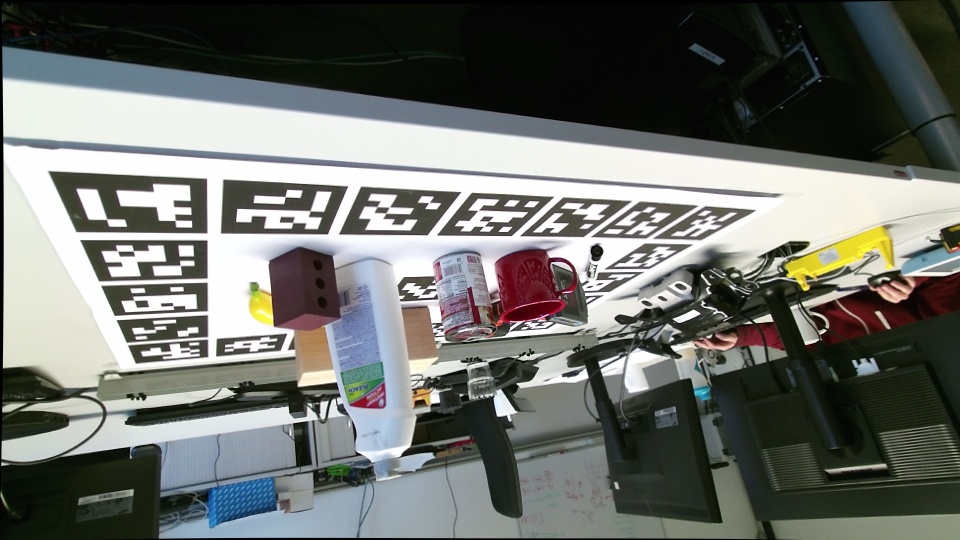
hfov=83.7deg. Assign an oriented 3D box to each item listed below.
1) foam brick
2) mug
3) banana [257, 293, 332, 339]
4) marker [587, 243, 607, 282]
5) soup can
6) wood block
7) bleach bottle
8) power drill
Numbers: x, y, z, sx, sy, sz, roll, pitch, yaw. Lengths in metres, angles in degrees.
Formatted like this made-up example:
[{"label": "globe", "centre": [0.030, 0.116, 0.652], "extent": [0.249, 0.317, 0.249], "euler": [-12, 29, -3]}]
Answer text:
[{"label": "foam brick", "centre": [-0.197, 0.020, 0.602], "extent": [0.051, 0.077, 0.053], "euler": [-21, 159, 25]}, {"label": "mug", "centre": [0.079, 0.023, 0.751], "extent": [0.117, 0.081, 0.093], "euler": [-22, 155, 15]}, {"label": "banana", "centre": [-0.222, 0.068, 0.749], "extent": [0.198, 0.038, 0.074], "euler": [10, 136, -40]}, {"label": "marker", "centre": [0.177, -0.011, 0.814], "extent": [0.020, 0.019, 0.121], "euler": [-15, 158, 0]}, {"label": "soup can", "centre": [-0.017, 0.041, 0.700], "extent": [0.068, 0.101, 0.068], "euler": [-8, 161, -3]}, {"label": "wood block", "centre": [-0.181, 0.124, 0.850], "extent": [0.207, 0.090, 0.090], "euler": [-2, 155, -26]}, {"label": "bleach bottle", "centre": [-0.127, 0.117, 0.644], "extent": [0.103, 0.249, 0.068], "euler": [-24, 157, 29]}, {"label": "power drill", "centre": [0.058, 0.068, 0.898], "extent": [0.187, 0.057, 0.185], "euler": [-24, 152, 30]}]
